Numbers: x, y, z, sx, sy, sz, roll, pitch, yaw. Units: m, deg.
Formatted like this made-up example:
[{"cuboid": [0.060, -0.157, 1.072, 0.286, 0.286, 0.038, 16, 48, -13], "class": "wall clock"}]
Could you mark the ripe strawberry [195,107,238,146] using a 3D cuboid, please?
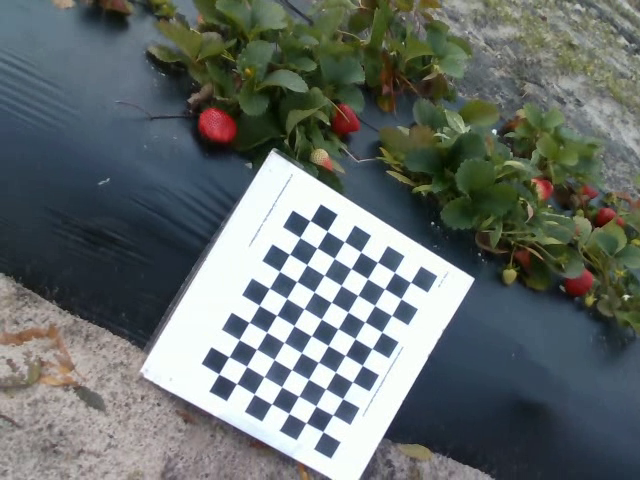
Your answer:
[{"cuboid": [-0.096, -0.106, 0.571, 0.037, 0.037, 0.046, -14, 42, -3], "class": "ripe strawberry"}]
